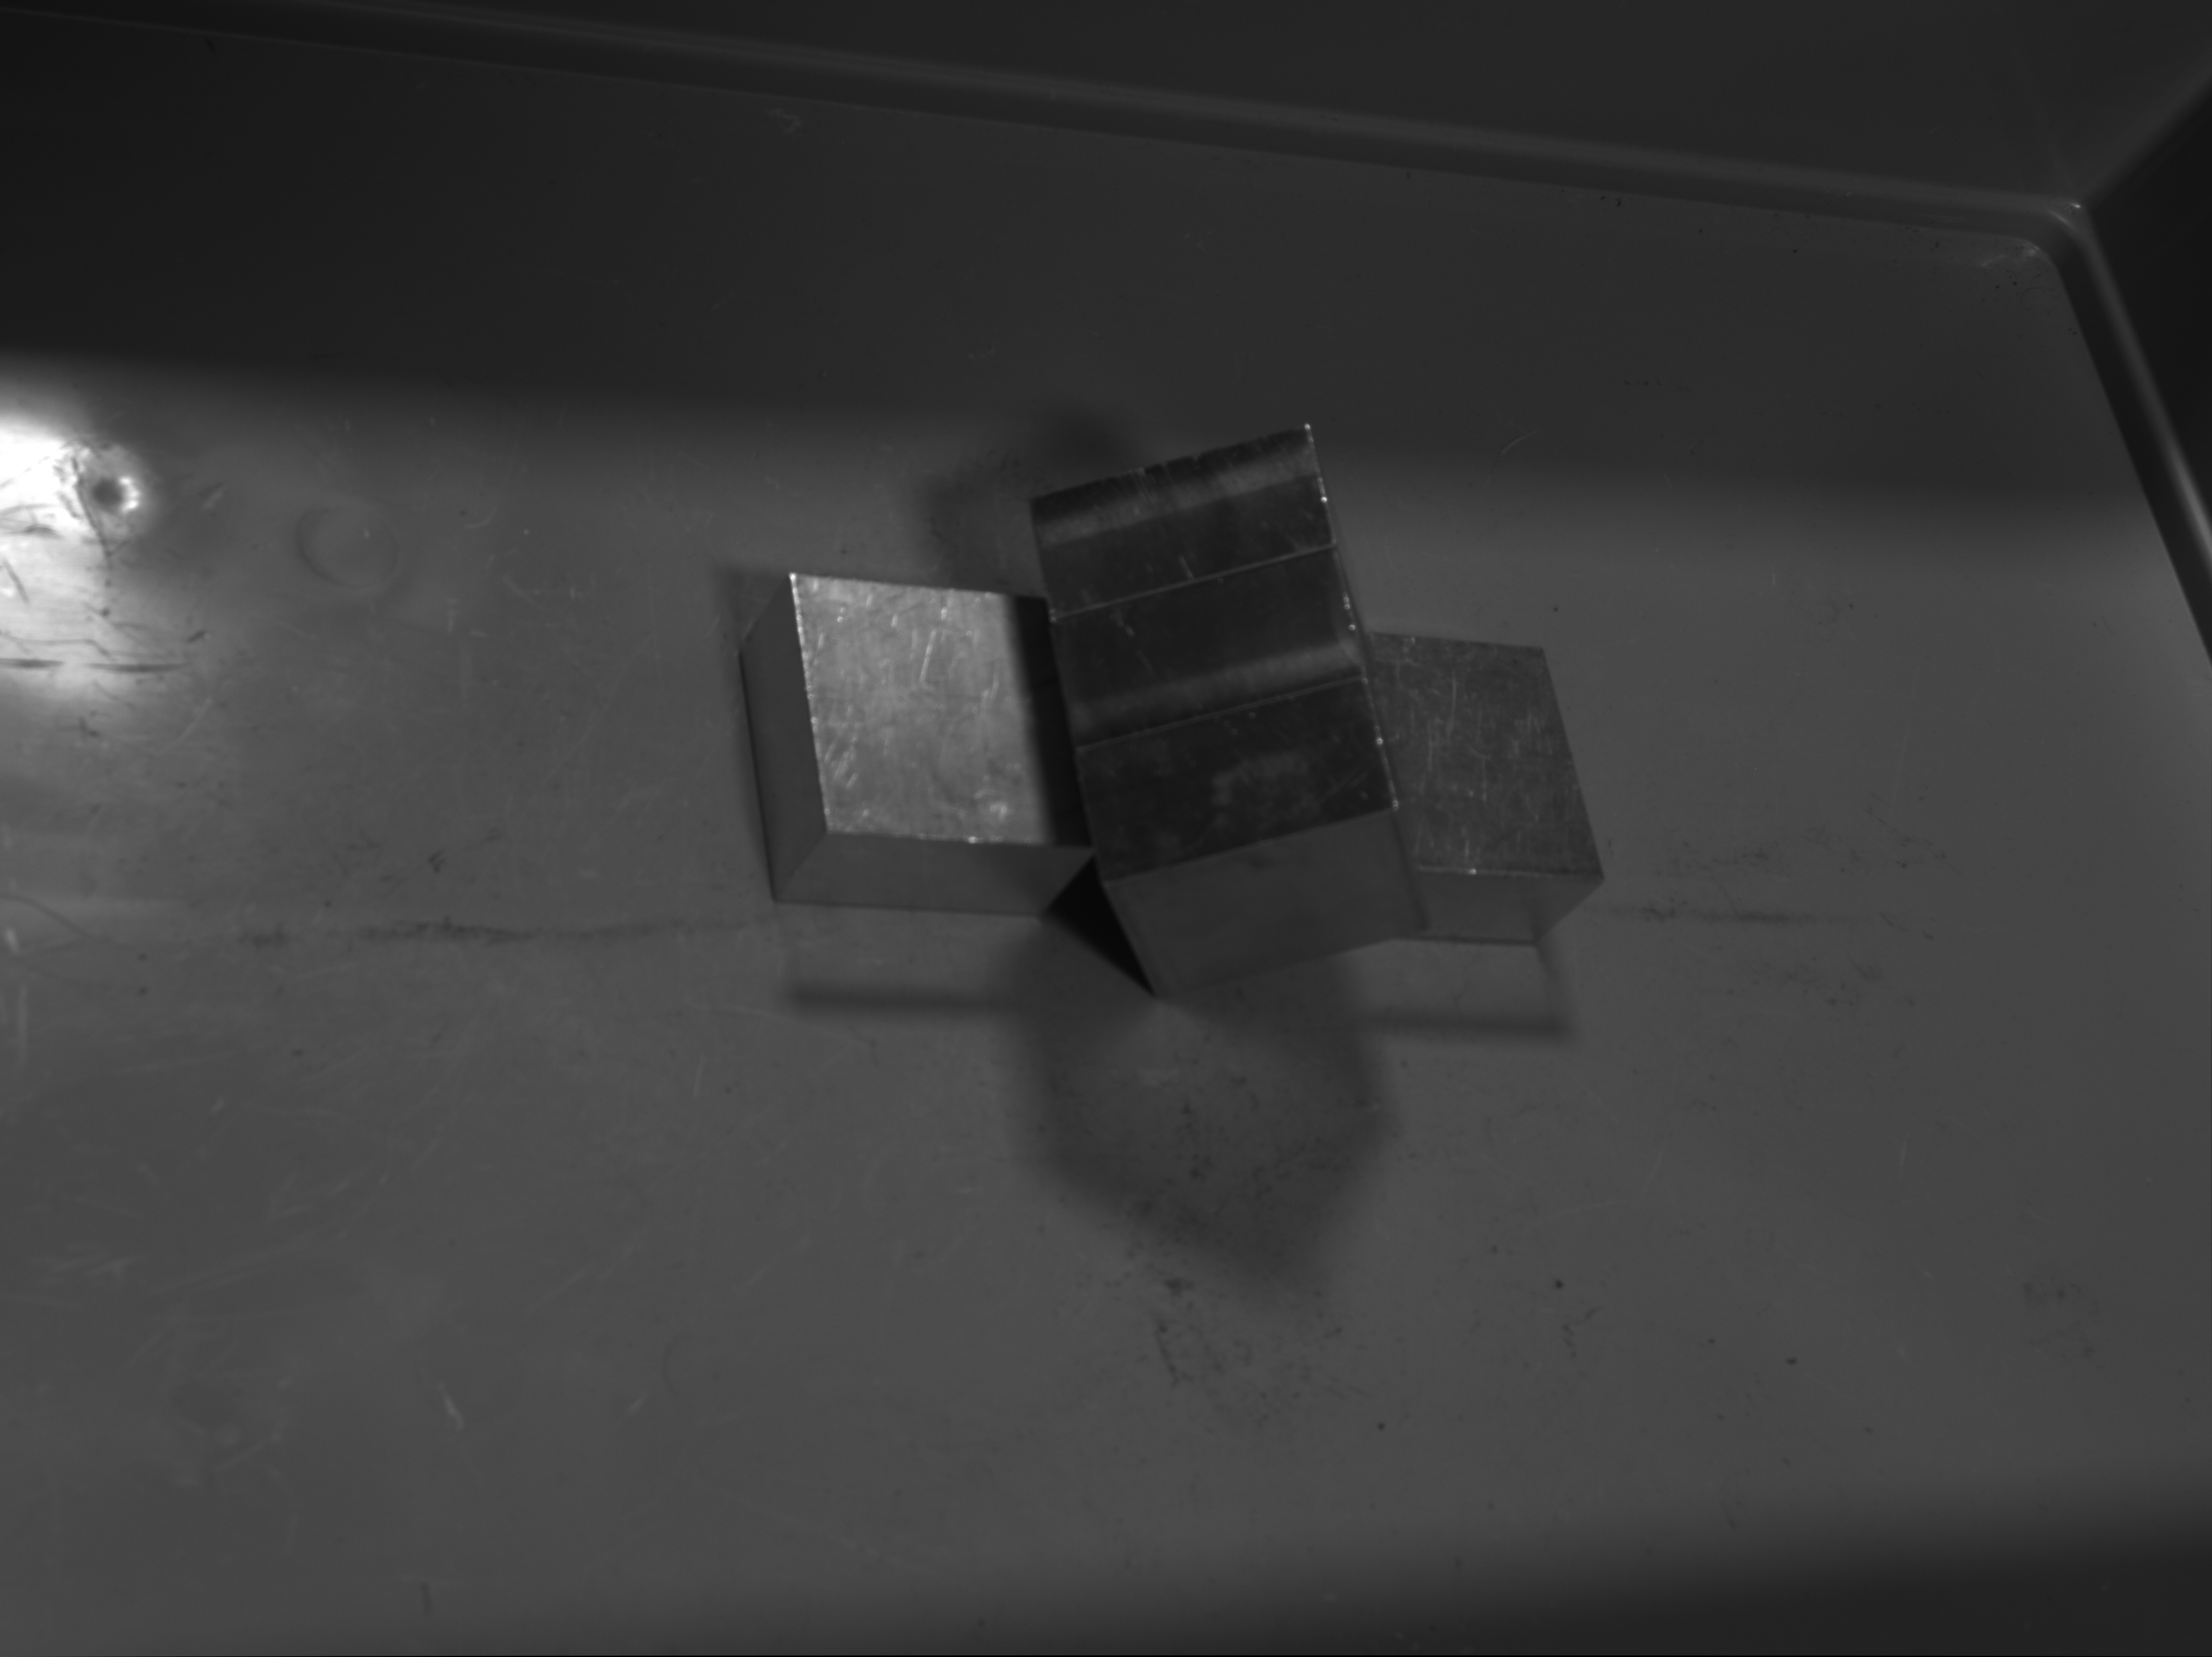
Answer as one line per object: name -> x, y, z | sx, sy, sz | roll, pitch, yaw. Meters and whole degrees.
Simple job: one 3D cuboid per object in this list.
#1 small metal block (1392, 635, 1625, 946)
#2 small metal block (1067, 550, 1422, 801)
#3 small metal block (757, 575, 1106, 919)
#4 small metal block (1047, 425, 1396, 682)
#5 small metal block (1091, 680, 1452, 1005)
small metal block -> 0.063, -0.007, 0.677 | 0.050, 0.025, 0.050 | 3, 60, -27
small metal block -> 0.025, -0.019, 0.634 | 0.050, 0.050, 0.025 | -15, 63, 5
small metal block -> -0.029, -0.014, 0.631 | 0.050, 0.025, 0.050 | 4, 60, -26
small metal block -> 0.021, -0.042, 0.646 | 0.050, 0.050, 0.025 | -14, 63, 6
small metal block -> 0.029, 0.003, 0.623 | 0.050, 0.050, 0.025 | -15, 63, 5
